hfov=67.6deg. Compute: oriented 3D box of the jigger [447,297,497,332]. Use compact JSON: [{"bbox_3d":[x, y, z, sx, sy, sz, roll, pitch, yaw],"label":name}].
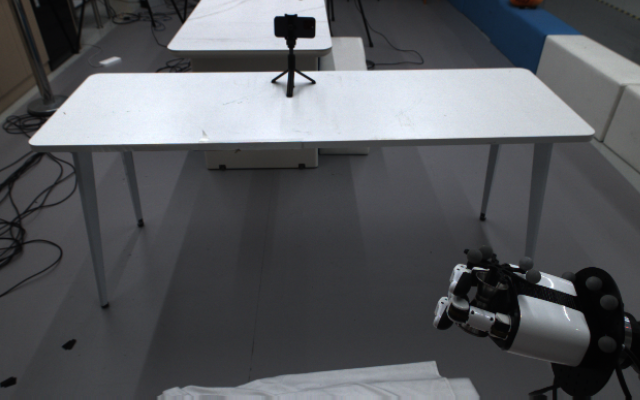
[{"bbox_3d":[0.202,0.127,0.601,0.043,0.071,0.043,15,17,-5],"label":"jigger"}]
